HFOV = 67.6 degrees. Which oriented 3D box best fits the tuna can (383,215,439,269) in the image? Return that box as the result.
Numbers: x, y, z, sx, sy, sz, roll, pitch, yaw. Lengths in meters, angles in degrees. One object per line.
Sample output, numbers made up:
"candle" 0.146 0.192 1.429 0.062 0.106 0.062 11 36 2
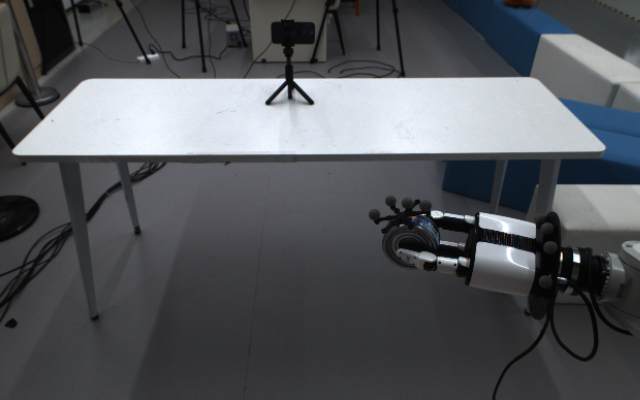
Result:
"tuna can" 0.141 0.062 0.742 0.085 0.085 0.034 11 34 13
